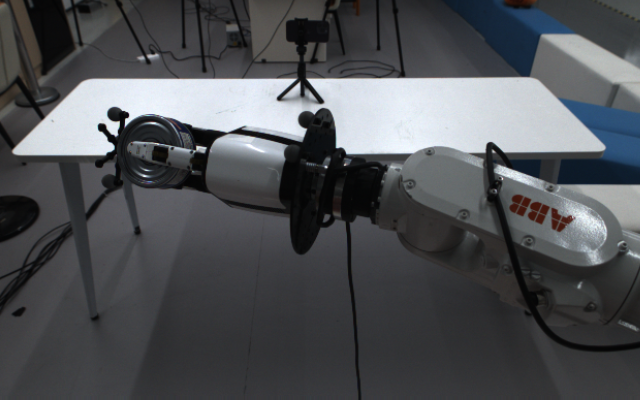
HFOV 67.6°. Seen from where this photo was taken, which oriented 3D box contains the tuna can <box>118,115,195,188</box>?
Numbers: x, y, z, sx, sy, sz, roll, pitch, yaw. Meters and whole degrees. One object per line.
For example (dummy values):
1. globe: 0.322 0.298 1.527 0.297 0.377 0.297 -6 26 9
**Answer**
1. tuna can: -0.188 -0.056 0.563 0.085 0.085 0.034 10 3 11
